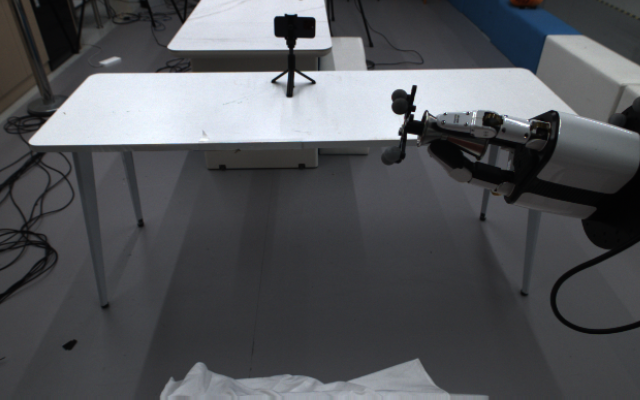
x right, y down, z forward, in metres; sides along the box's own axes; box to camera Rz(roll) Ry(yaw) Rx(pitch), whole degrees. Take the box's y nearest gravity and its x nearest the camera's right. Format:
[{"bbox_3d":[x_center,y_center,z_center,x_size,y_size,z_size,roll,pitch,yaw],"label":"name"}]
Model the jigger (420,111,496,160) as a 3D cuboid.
[{"bbox_3d":[0.149,-0.073,0.521,0.071,0.043,0.043,11,35,2],"label":"jigger"}]
